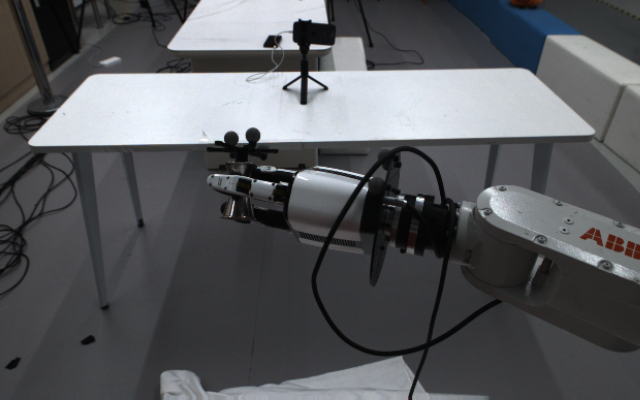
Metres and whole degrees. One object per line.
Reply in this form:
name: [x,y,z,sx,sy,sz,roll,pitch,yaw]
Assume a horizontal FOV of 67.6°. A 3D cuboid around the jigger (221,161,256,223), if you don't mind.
jigger: [-0.097,-0.010,0.593,0.043,0.071,0.043,2,-6,0]
